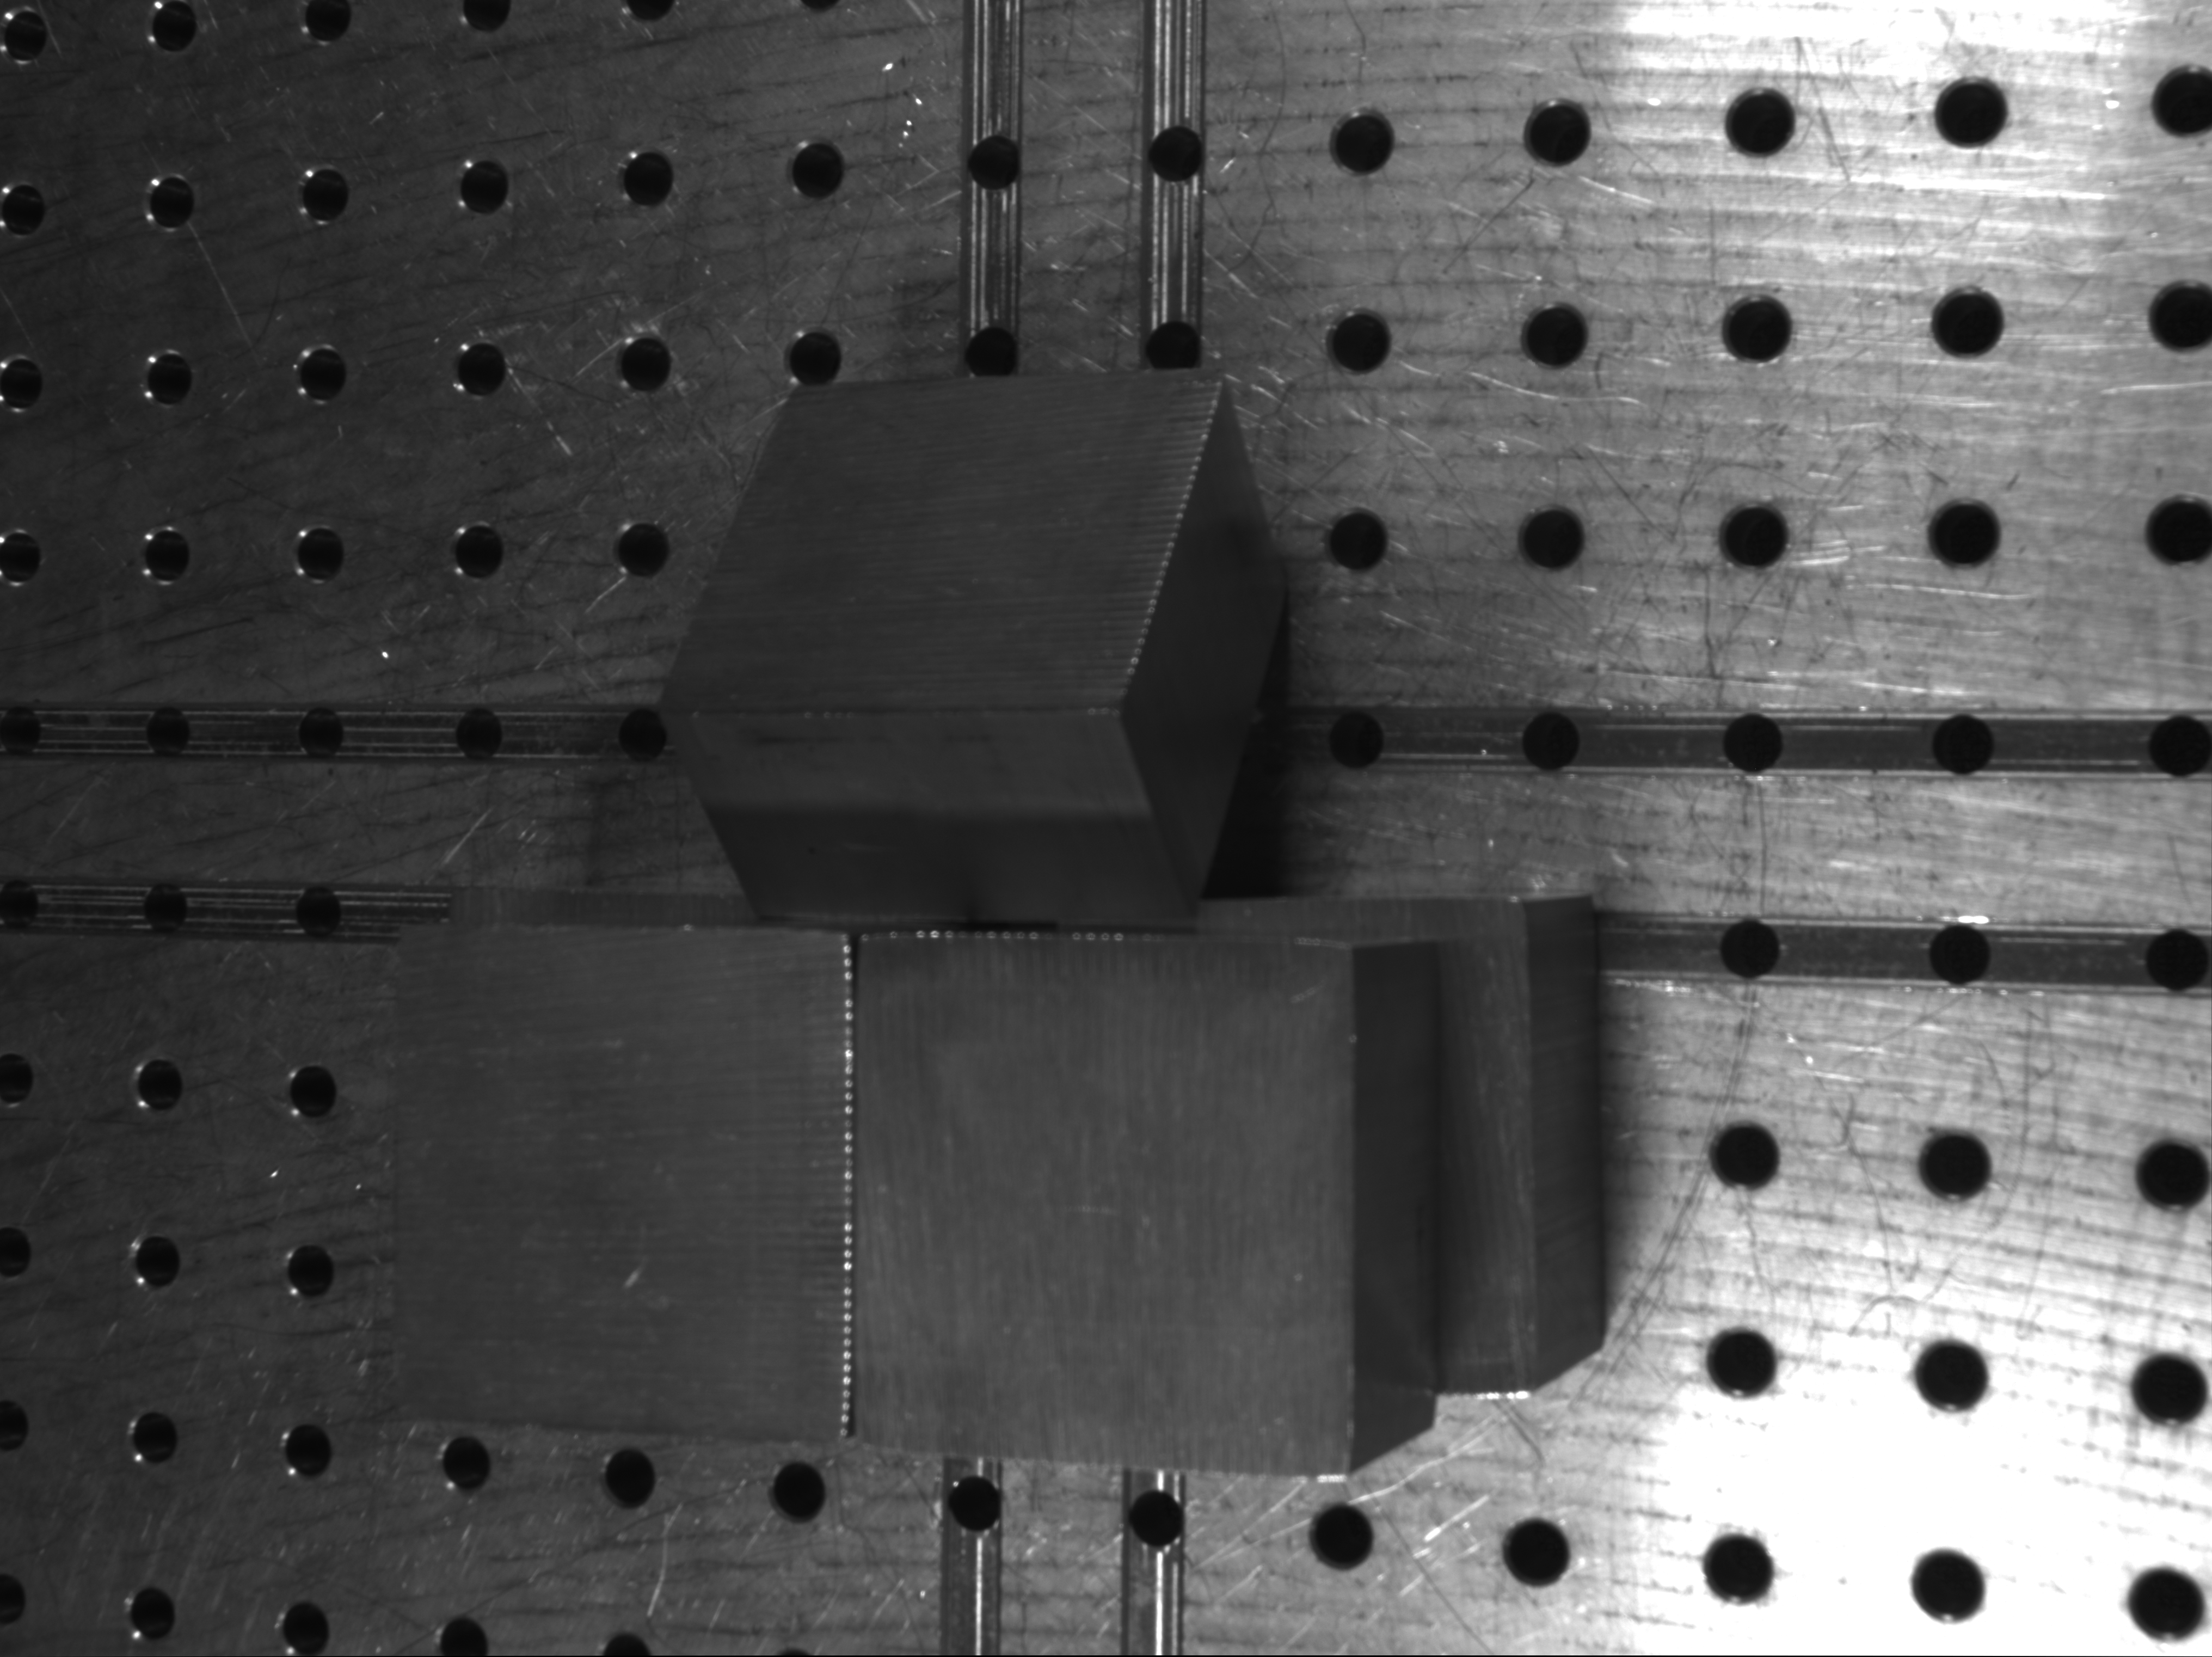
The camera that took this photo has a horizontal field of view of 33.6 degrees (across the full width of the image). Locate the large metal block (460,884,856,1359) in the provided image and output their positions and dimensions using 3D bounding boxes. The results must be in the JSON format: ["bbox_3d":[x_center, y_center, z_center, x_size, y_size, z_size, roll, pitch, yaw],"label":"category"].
[{"bbox_3d":[-0.069,0.051,0.659,0.080,0.050,0.080,2,90,20],"label":"large metal block"}]

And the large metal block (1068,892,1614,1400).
[{"bbox_3d":[0.040,0.051,0.618,0.080,0.050,0.080,-1,89,20],"label":"large metal block"}]

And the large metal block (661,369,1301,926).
[{"bbox_3d":[-0.018,-0.031,0.618,0.080,0.050,0.080,0,48,20],"label":"large metal block"}]

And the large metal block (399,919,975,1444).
[{"bbox_3d":[-0.068,0.055,0.601,0.080,0.050,0.080,0,90,20],"label":"large metal block"}]

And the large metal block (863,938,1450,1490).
[{"bbox_3d":[0.009,0.058,0.575,0.080,0.050,0.080,0,90,20],"label":"large metal block"}]
